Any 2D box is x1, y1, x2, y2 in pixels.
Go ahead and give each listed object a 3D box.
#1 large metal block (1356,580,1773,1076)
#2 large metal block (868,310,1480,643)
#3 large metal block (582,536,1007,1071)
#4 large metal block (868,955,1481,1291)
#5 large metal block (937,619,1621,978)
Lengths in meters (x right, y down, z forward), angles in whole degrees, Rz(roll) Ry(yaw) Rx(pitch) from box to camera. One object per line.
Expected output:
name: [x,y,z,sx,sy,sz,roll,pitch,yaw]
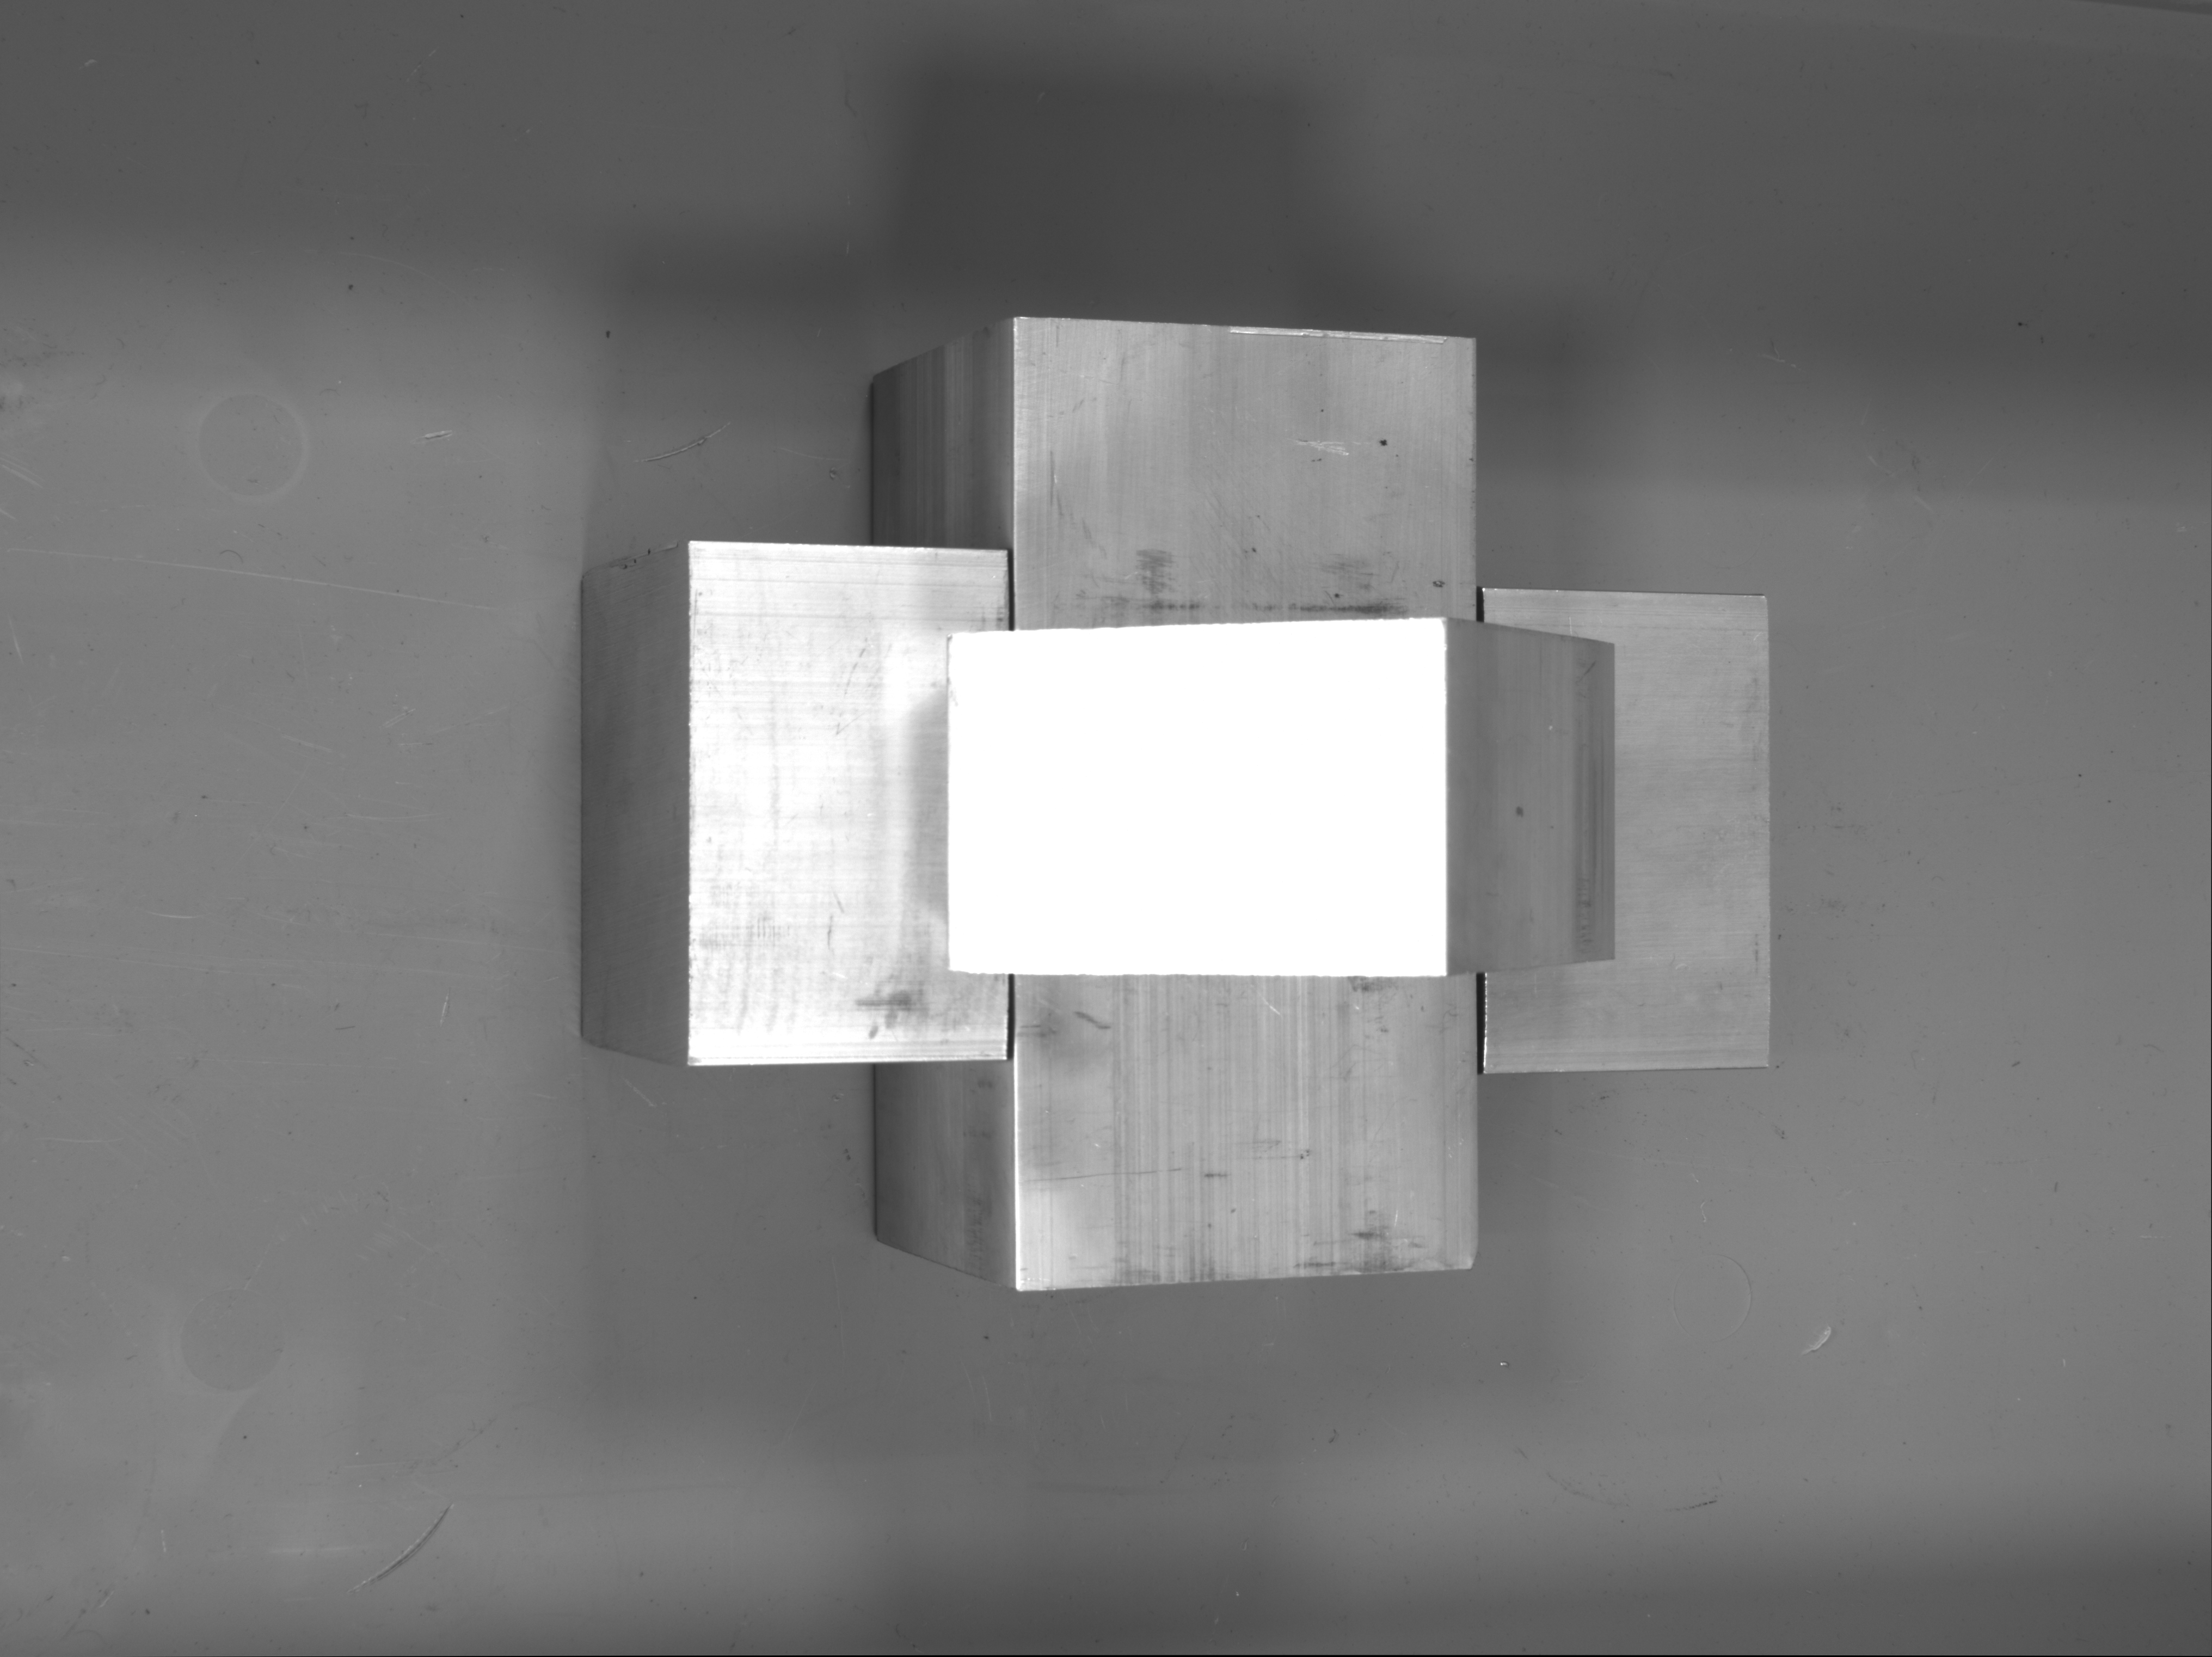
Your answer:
large metal block: [0.073,0.000,0.637,0.050,0.080,0.080,0,90,-20]
large metal block: [0.009,-0.055,0.616,0.080,0.080,0.050,0,90,-20]
large metal block: [-0.052,-0.004,0.594,0.050,0.080,0.080,0,90,-20]
large metal block: [0.009,0.046,0.616,0.080,0.080,0.050,0,90,-20]
large metal block: [0.028,-0.004,0.563,0.080,0.080,0.050,0,90,-65]
